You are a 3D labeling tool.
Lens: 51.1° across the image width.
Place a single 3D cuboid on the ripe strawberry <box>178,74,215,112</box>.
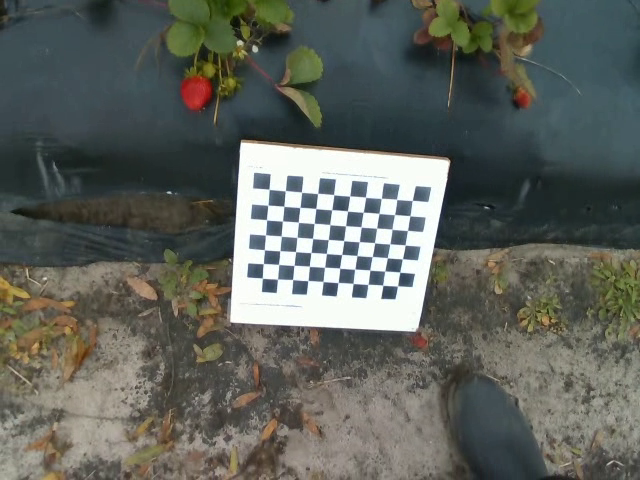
[{"bbox_3d":[-0.050,-0.058,0.262,0.018,0.017,0.014,6,-23,-14],"label":"ripe strawberry"}]
